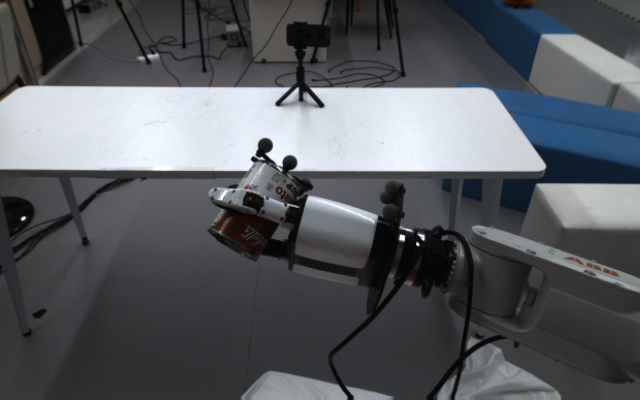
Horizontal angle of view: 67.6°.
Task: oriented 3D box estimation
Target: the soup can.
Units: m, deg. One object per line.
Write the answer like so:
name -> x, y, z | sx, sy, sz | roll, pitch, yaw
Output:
soup can -> -0.074, 0.013, 0.568 | 0.067, 0.067, 0.101 | 23, 71, 27
